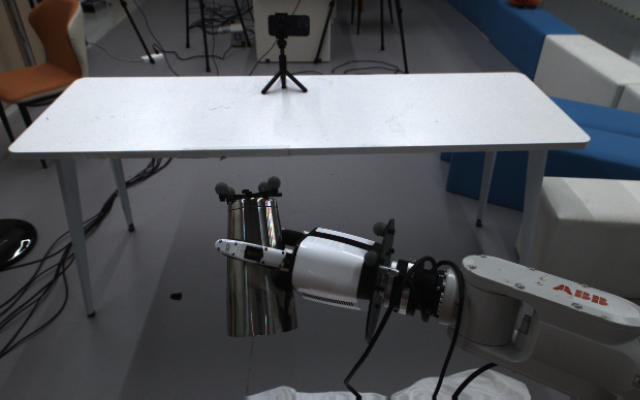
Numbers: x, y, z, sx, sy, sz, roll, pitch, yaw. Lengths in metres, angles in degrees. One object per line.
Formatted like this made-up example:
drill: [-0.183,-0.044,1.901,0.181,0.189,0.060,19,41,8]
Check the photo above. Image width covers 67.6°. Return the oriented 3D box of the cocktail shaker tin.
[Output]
cocktail shaker tin: [-0.082,0.087,0.638,0.093,0.170,0.093,-6,-7,-1]
